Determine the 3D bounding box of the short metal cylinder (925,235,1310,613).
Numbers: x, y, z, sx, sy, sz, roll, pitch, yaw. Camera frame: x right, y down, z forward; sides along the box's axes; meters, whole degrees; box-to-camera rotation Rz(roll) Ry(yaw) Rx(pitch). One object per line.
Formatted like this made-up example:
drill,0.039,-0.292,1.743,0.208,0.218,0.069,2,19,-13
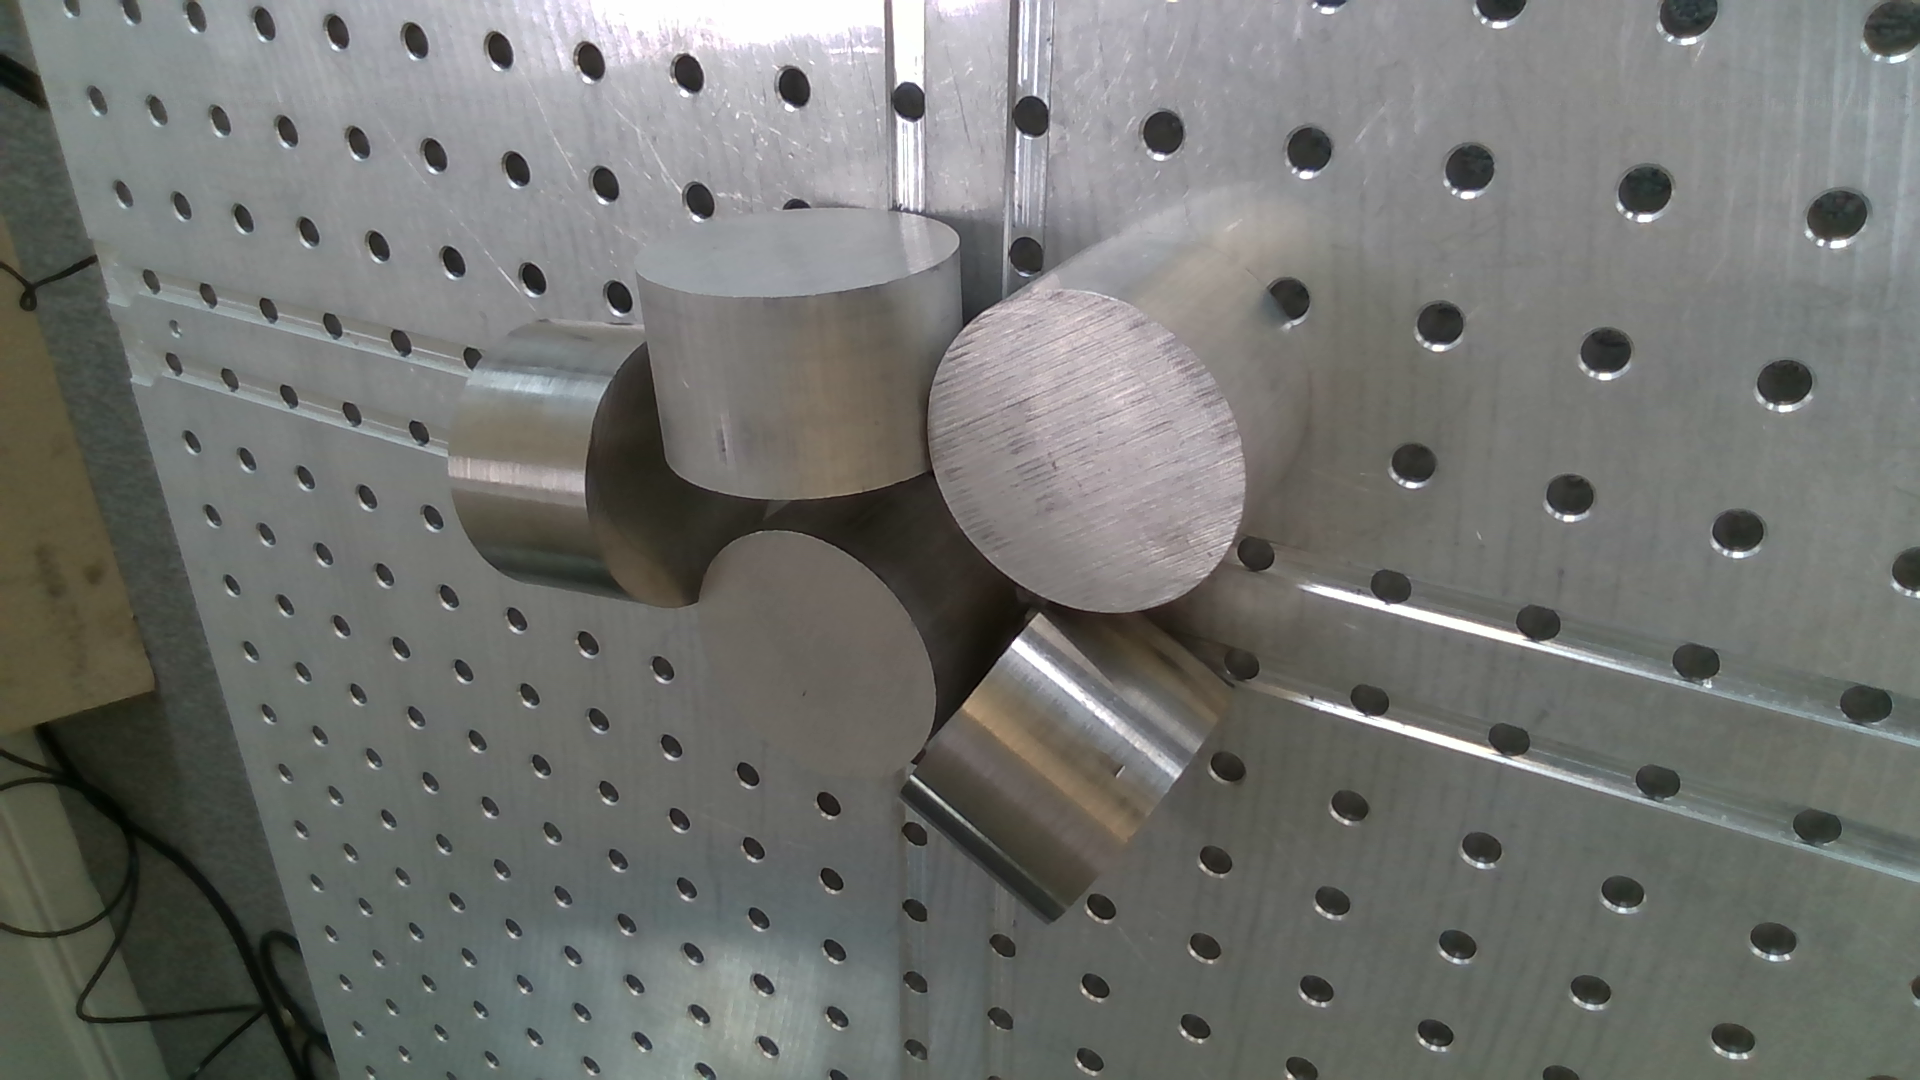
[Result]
short metal cylinder,0.039,-0.029,0.335,0.080,0.050,0.080,14,121,25

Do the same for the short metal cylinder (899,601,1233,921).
short metal cylinder,0.028,0.054,0.369,0.050,0.080,0.080,38,129,8

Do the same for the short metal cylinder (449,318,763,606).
short metal cylinder,-0.100,-0.024,0.404,0.050,0.080,0.080,9,119,28

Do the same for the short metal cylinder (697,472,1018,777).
short metal cylinder,-0.030,0.022,0.406,0.080,0.050,0.080,15,123,25

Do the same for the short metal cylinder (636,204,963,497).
short metal cylinder,-0.039,-0.051,0.353,0.080,0.080,0.050,12,121,26
